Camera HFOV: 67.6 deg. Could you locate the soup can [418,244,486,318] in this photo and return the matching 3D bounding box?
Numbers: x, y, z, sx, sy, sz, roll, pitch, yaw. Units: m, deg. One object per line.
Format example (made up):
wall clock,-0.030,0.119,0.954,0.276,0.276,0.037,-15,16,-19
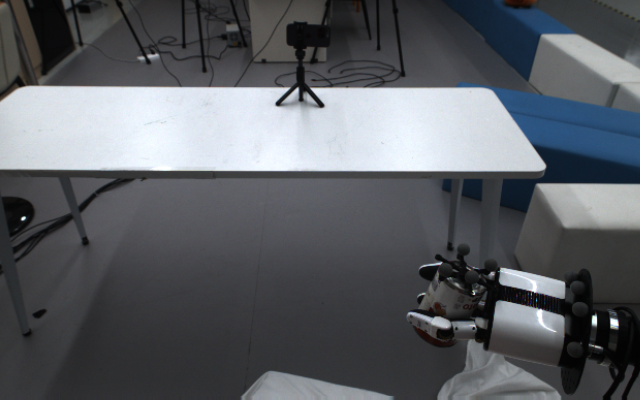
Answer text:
soup can,0.177,0.141,0.661,0.067,0.101,0.067,13,30,-8
